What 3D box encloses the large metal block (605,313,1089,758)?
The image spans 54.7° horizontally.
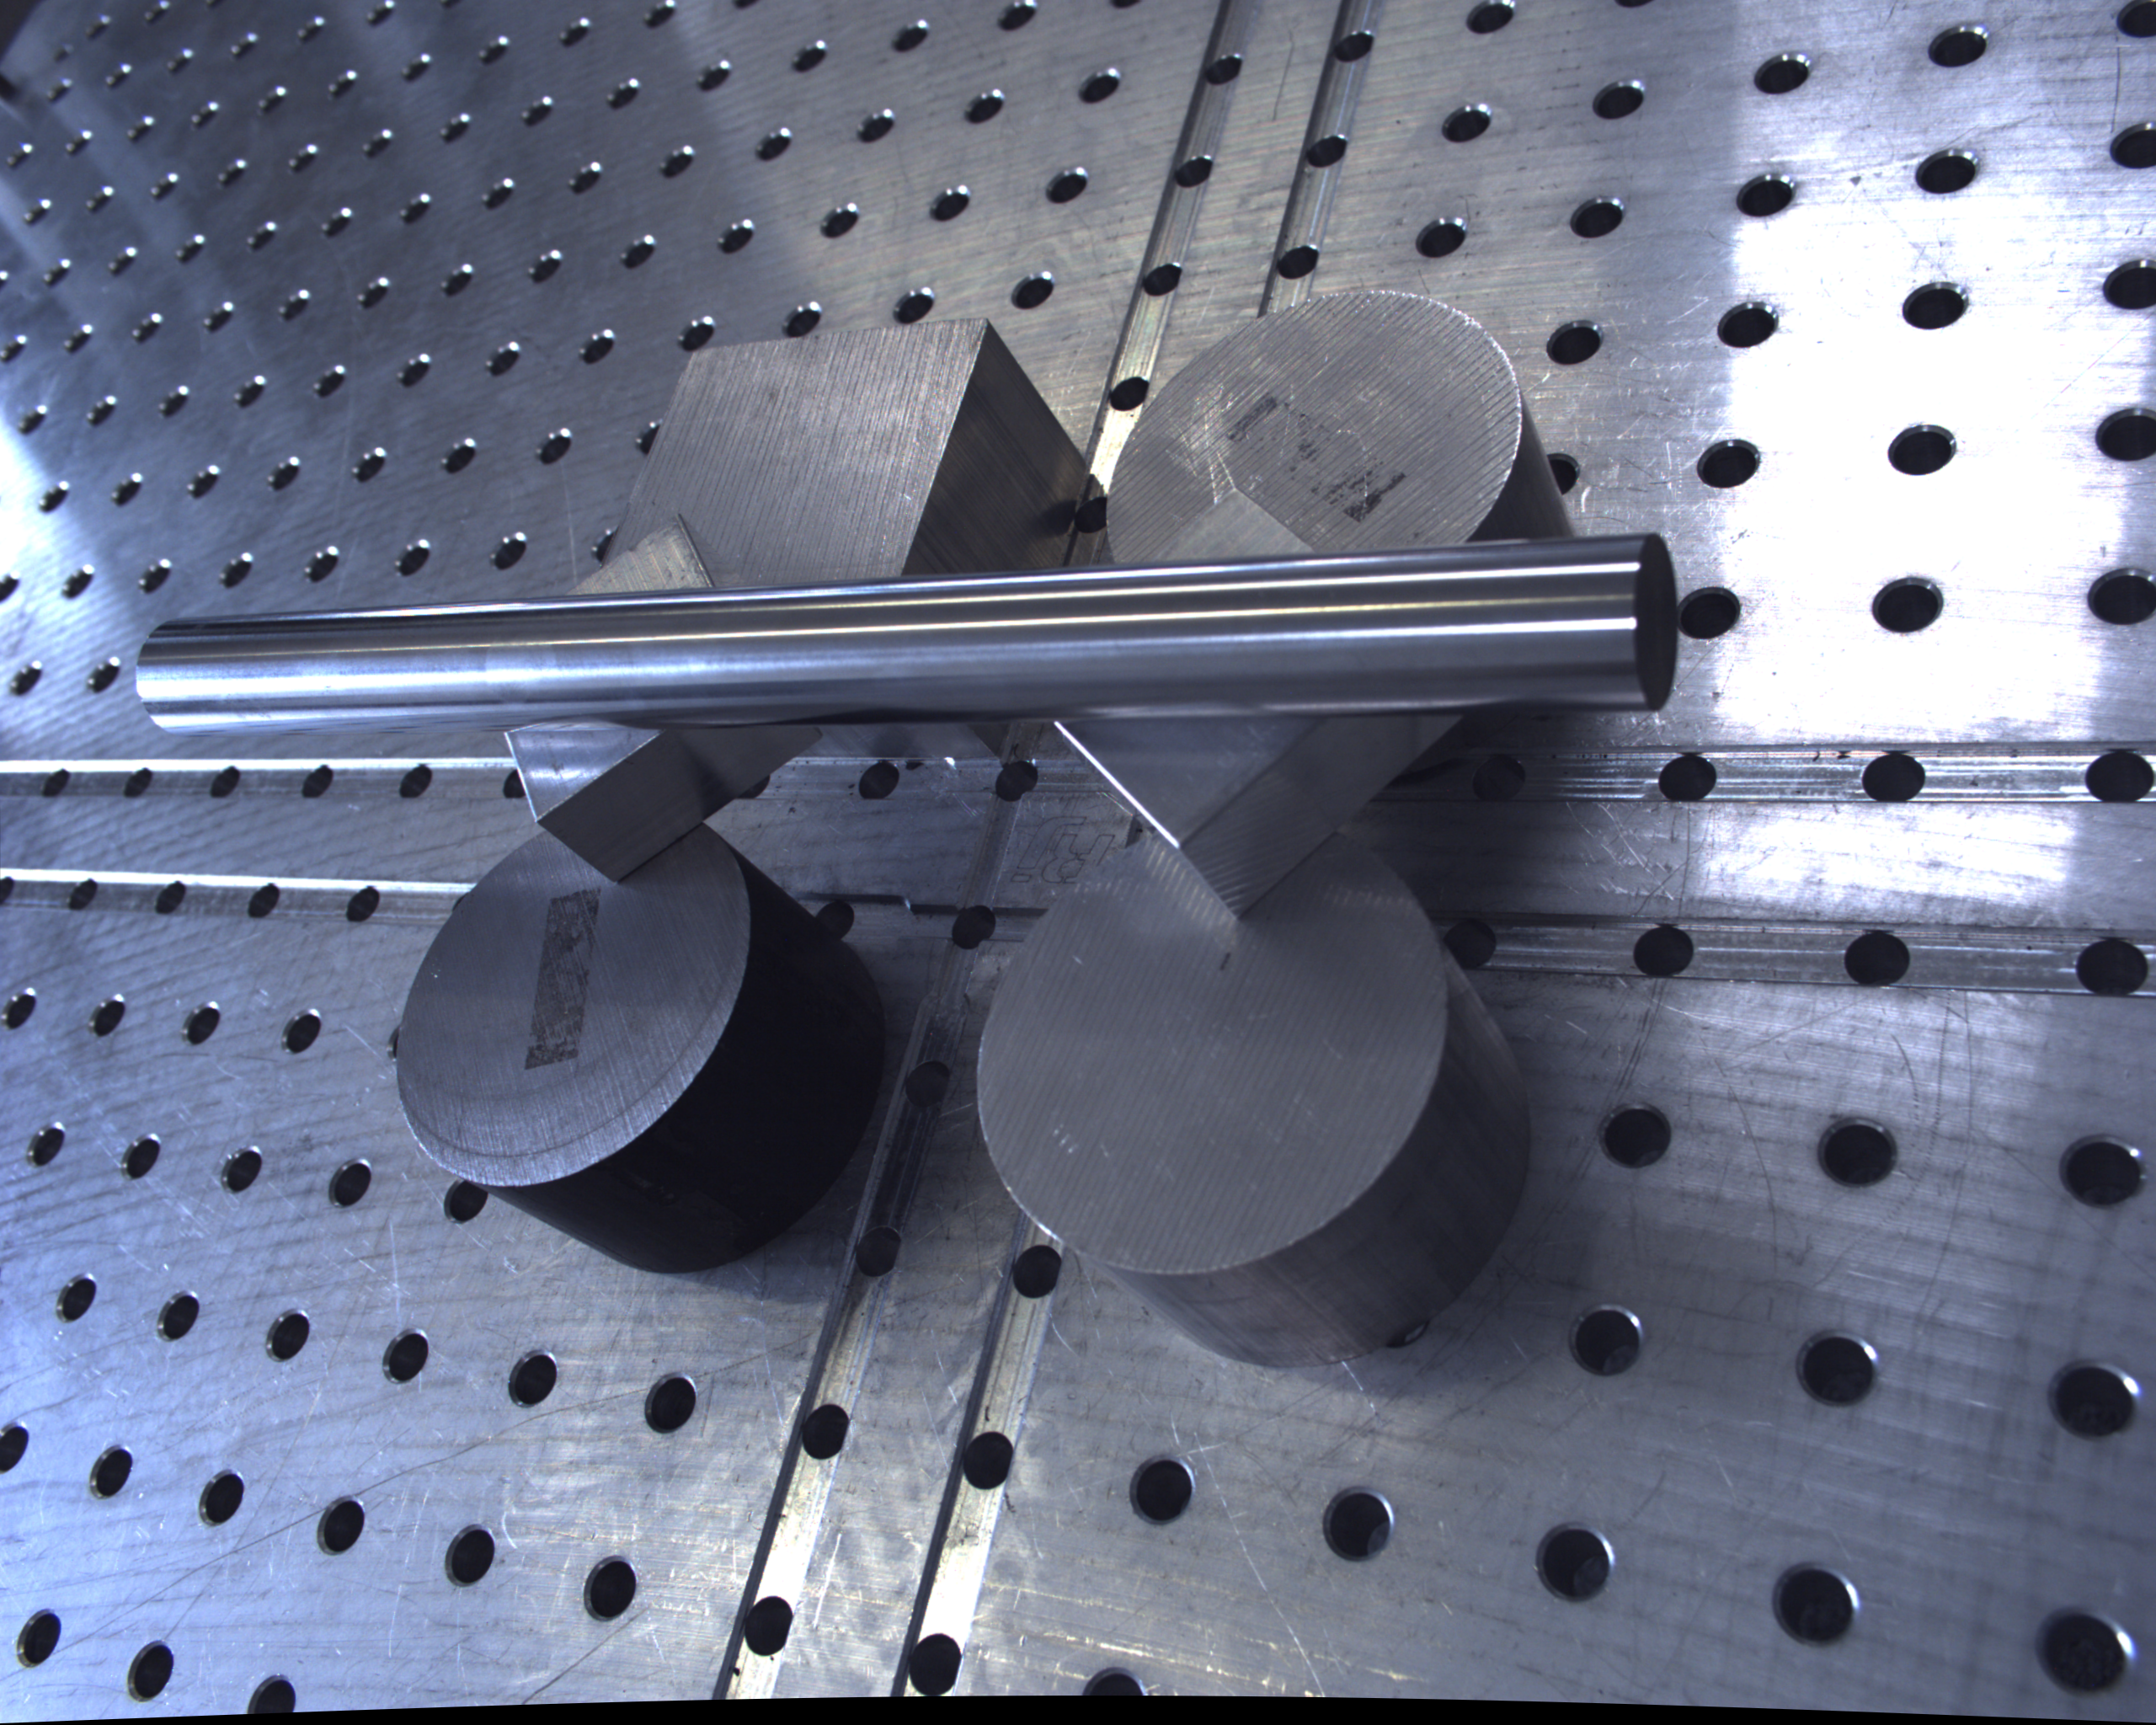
[{"bbox_3d":[-0.053,-0.070,0.463,0.080,0.050,0.080,1,62,29],"label":"large metal block"}]

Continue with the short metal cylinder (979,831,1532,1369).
[{"bbox_3d":[0.031,0.039,0.352,0.080,0.050,0.080,-13,56,21],"label":"short metal cylinder"}]

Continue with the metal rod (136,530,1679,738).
[{"bbox_3d":[-0.052,-0.036,0.361,0.300,0.025,0.025,1,62,28],"label":"metal rod"}]

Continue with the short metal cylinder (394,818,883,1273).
[{"bbox_3d":[-0.087,0.035,0.415,0.080,0.050,0.080,-13,56,21],"label":"short metal cylinder"}]

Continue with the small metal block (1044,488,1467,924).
[{"bbox_3d":[0.027,-0.027,0.347,0.050,0.025,0.050,-42,51,-1],"label":"small metal block"}]

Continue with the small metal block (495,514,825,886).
[{"bbox_3d":[-0.084,-0.032,0.409,0.050,0.025,0.050,-34,51,5],"label":"small metal block"}]

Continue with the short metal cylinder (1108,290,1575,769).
[{"bbox_3d":[0.053,-0.063,0.403,0.080,0.050,0.080,-13,56,21],"label":"short metal cylinder"}]
